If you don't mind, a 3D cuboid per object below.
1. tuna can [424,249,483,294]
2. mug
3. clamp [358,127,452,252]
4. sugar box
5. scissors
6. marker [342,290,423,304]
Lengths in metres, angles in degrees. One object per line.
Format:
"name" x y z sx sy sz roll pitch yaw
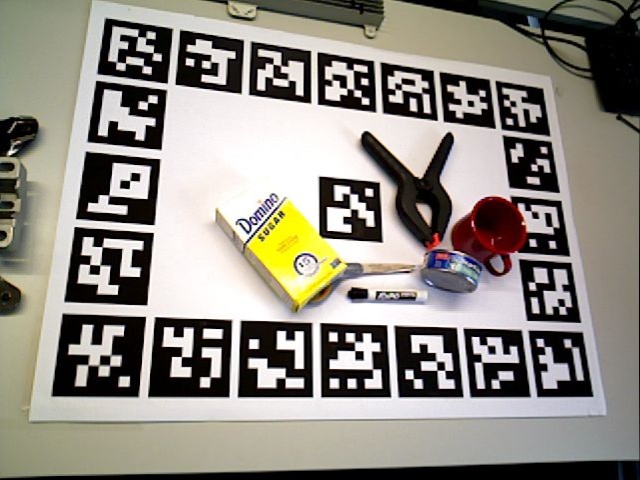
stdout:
"tuna can" 0.196 0.047 0.789 0.085 0.087 0.033 21 67 -8
"mug" 0.251 0.002 0.823 0.092 0.083 0.117 -24 77 -21
"clamp" 0.155 -0.082 0.856 0.163 0.037 0.202 -6 76 -17
"sugar box" -0.053 0.004 0.753 0.091 0.046 0.176 -34 78 -22
"scissors" 0.046 0.039 0.785 0.200 0.016 0.087 -6 71 -18
"marker" 0.090 0.082 0.786 0.120 0.020 0.019 1 73 -14
